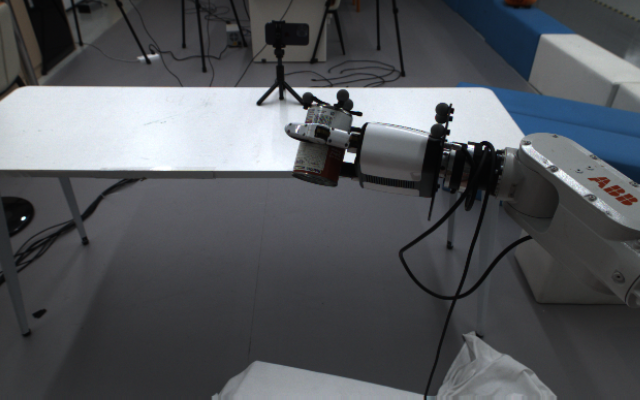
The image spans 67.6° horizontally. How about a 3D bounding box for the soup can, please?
[{"bbox_3d":[0.004,-0.076,0.686,0.067,0.101,0.067,13,-6,1],"label":"soup can"}]
